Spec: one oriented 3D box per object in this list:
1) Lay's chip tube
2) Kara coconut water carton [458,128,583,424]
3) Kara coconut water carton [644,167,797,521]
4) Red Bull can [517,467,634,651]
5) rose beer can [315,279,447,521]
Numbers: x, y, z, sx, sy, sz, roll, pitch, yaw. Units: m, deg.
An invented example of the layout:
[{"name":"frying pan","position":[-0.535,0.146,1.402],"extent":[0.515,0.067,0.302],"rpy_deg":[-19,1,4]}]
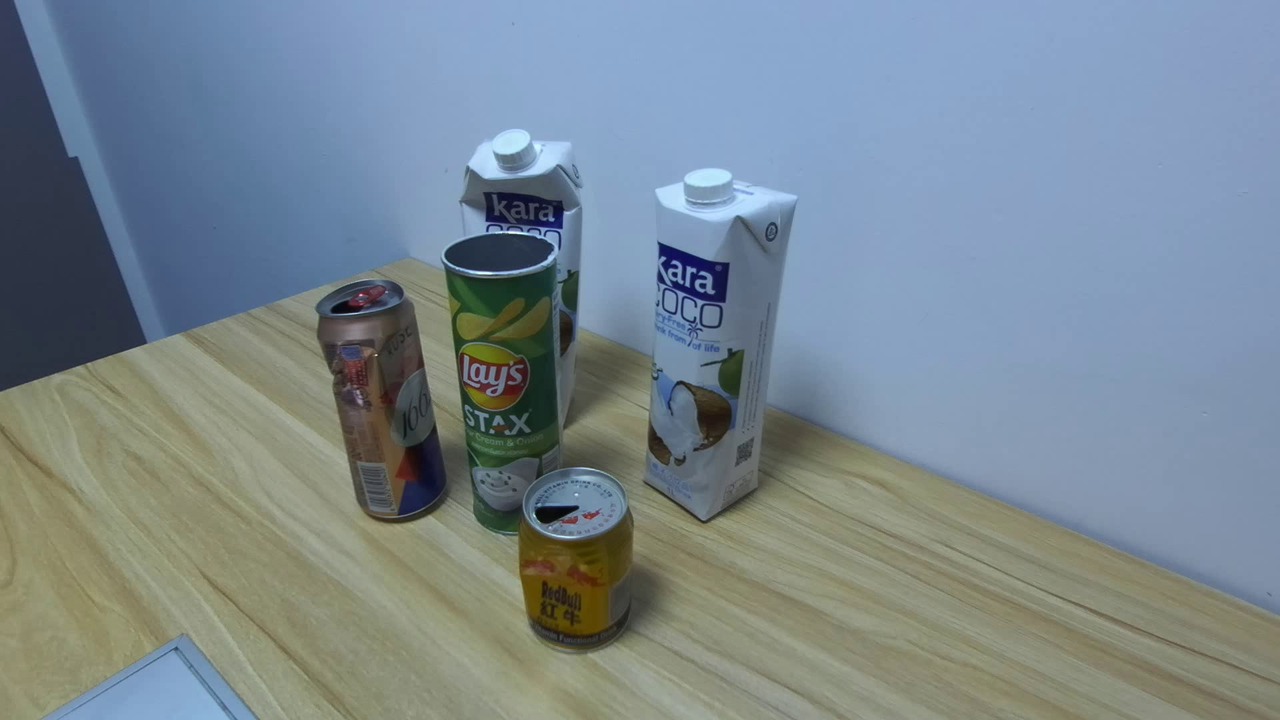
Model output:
[{"name":"Lay's chip tube","position":[-0.086,0.019,0.477],"extent":[0.071,0.202,0.071],"rpy_deg":[2,31,-1]},{"name":"Kara coconut water carton","position":[-0.091,-0.064,0.577],"extent":[0.099,0.244,0.071],"rpy_deg":[2,28,4]},{"name":"Kara coconut water carton","position":[0.050,-0.009,0.489],"extent":[0.075,0.245,0.076],"rpy_deg":[-22,37,-37]},{"name":"Red Bull can","position":[-0.037,0.118,0.421],"extent":[0.069,0.092,0.069],"rpy_deg":[2,30,-1]},{"name":"rose beer can","position":[-0.181,0.032,0.498],"extent":[0.065,0.167,0.076],"rpy_deg":[7,31,17]}]
